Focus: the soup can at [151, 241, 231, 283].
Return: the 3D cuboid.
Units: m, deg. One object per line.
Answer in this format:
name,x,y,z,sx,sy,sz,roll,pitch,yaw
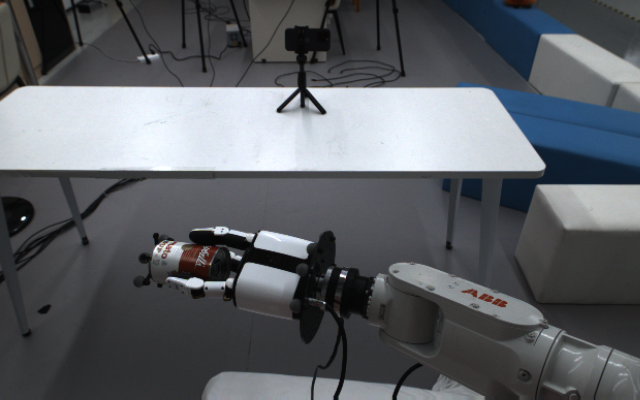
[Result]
soup can,-0.191,0.100,0.722,0.101,0.067,0.067,5,34,14
